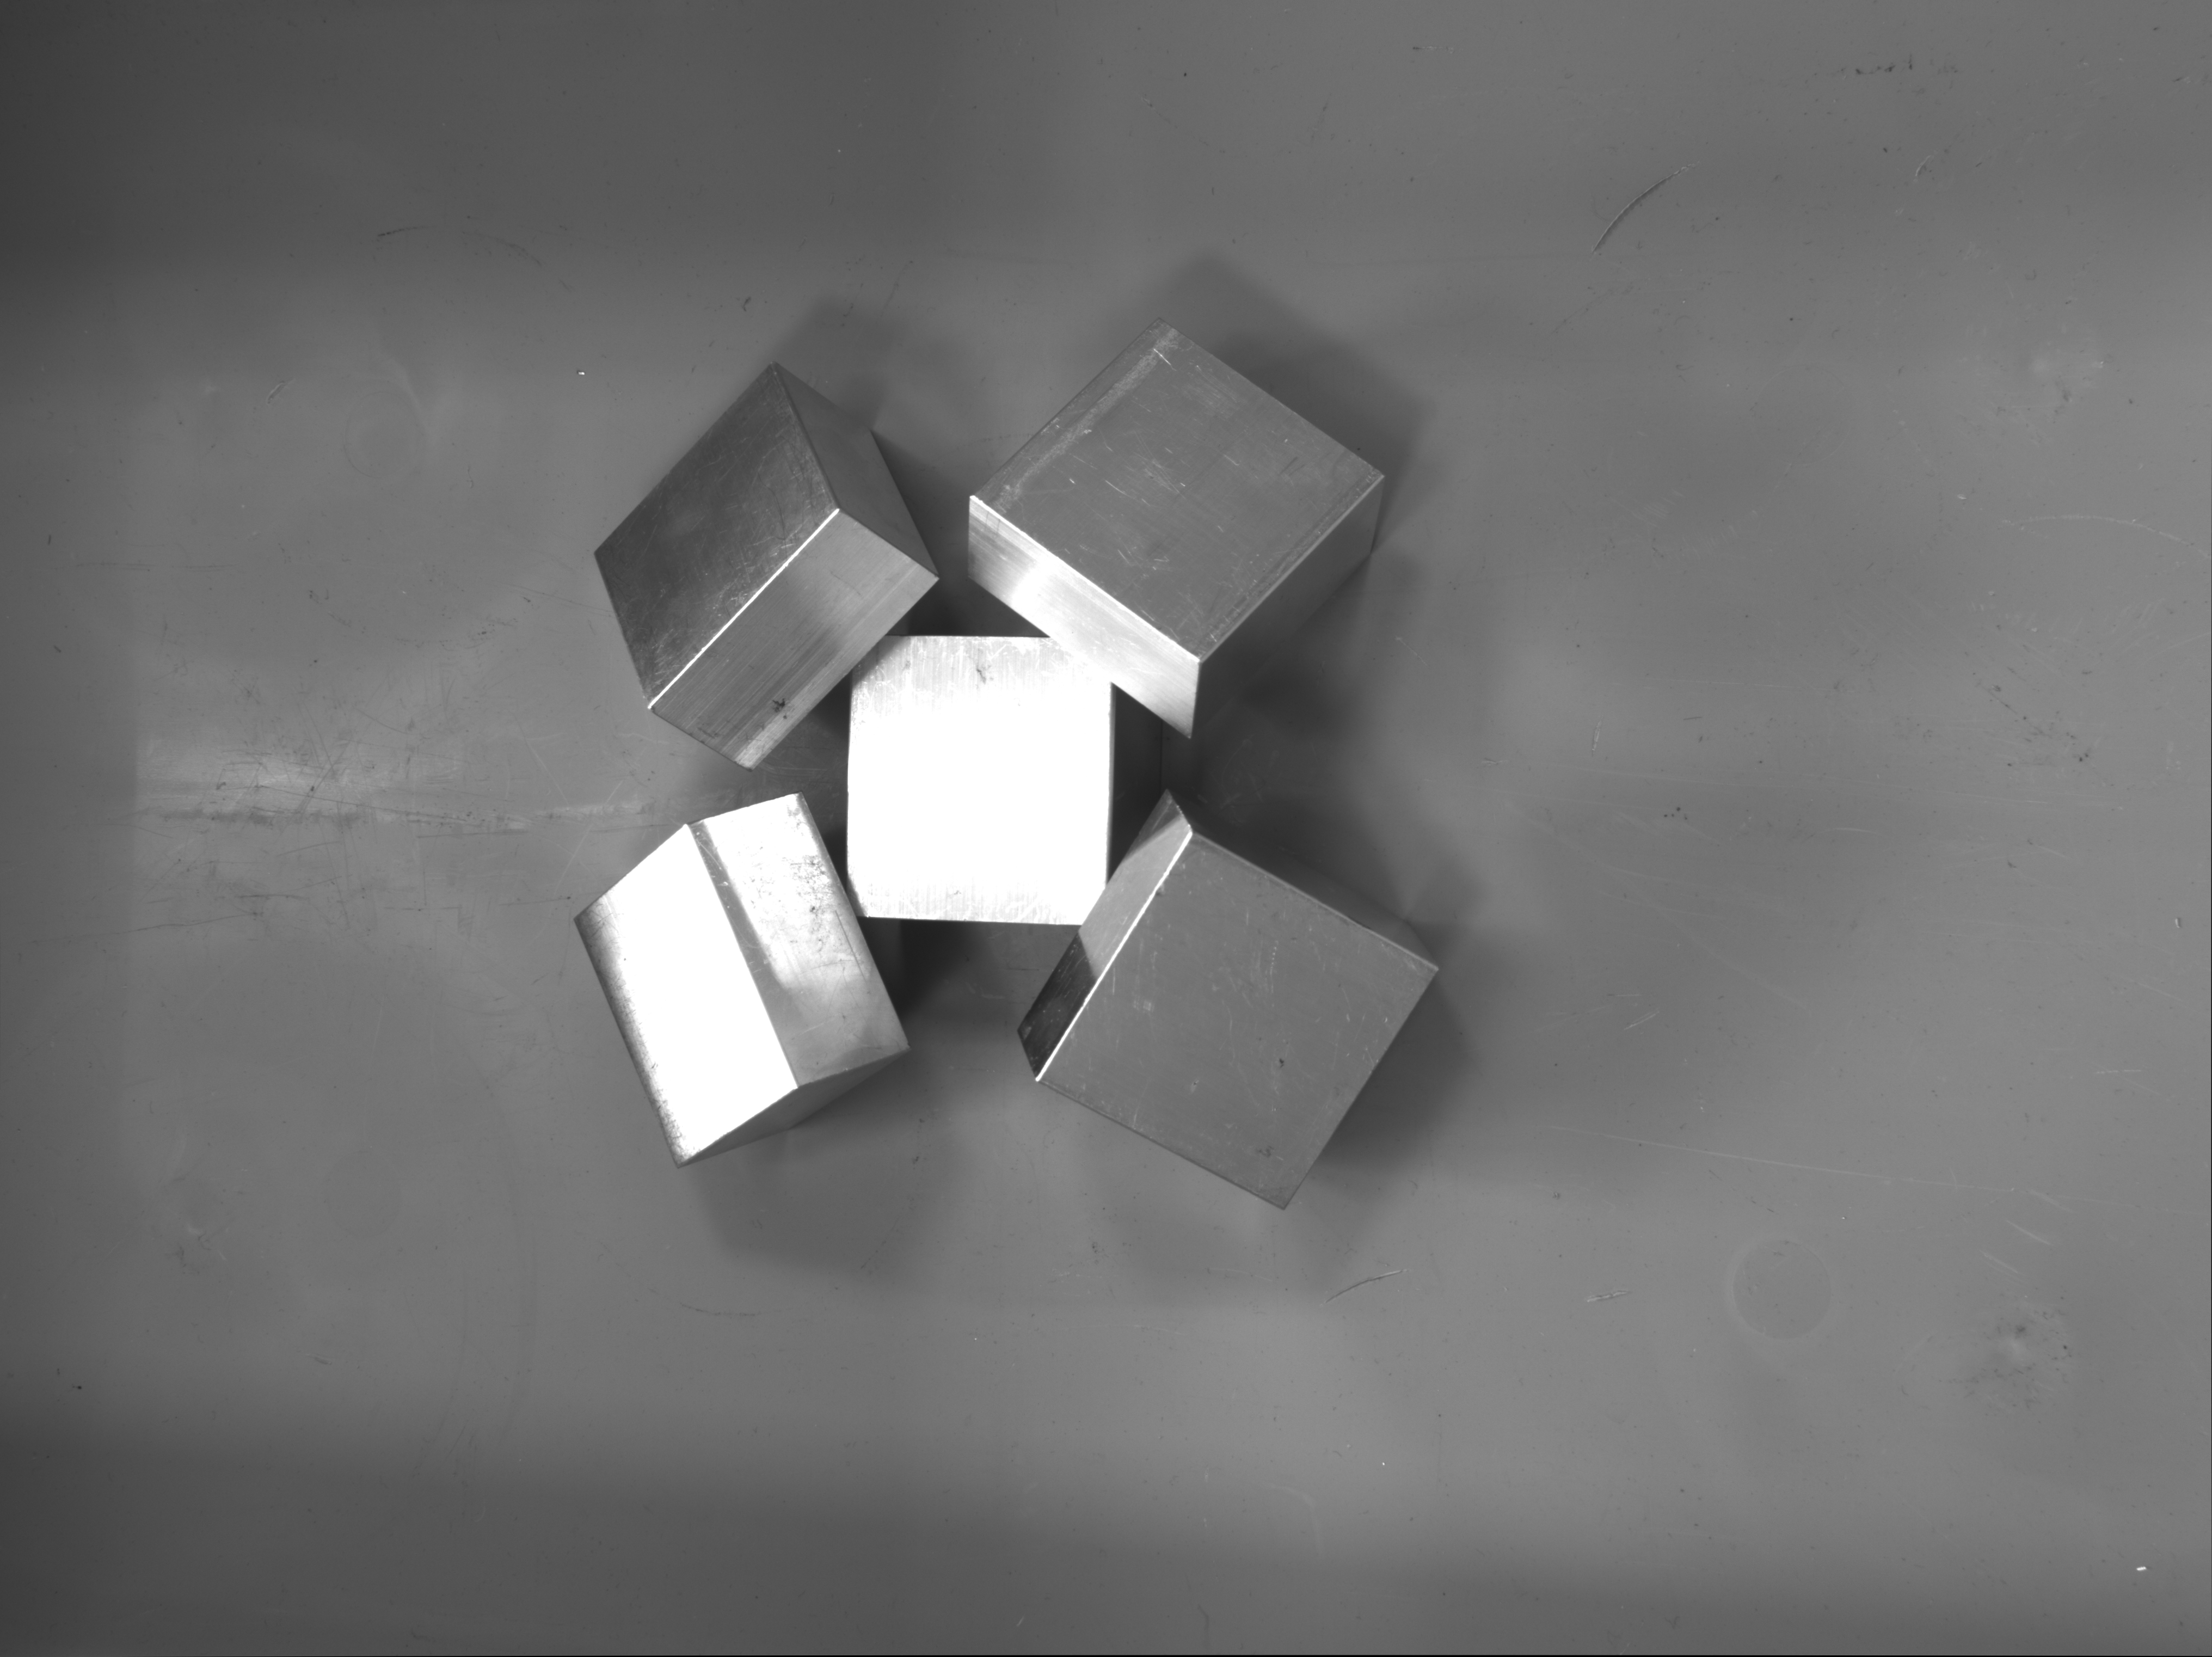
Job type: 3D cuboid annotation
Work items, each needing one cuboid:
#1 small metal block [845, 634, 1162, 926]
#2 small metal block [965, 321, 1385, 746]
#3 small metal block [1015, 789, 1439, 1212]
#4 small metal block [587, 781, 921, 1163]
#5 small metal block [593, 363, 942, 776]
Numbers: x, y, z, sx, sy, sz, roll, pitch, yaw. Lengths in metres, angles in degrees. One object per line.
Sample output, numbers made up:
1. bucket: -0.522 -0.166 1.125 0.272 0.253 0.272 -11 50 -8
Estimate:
1. small metal block: -0.018 -0.009 0.651 0.050 0.025 0.050 2 90 20
2. small metal block: 0.011 -0.051 0.628 0.050 0.025 0.050 37 64 16
3. small metal block: 0.020 0.029 0.625 0.050 0.025 0.050 29 101 -17
4. small metal block: -0.064 0.026 0.655 0.050 0.025 0.050 -37 75 55
5. small metal block: -0.061 -0.046 0.653 0.050 0.025 0.050 -45 39 15
